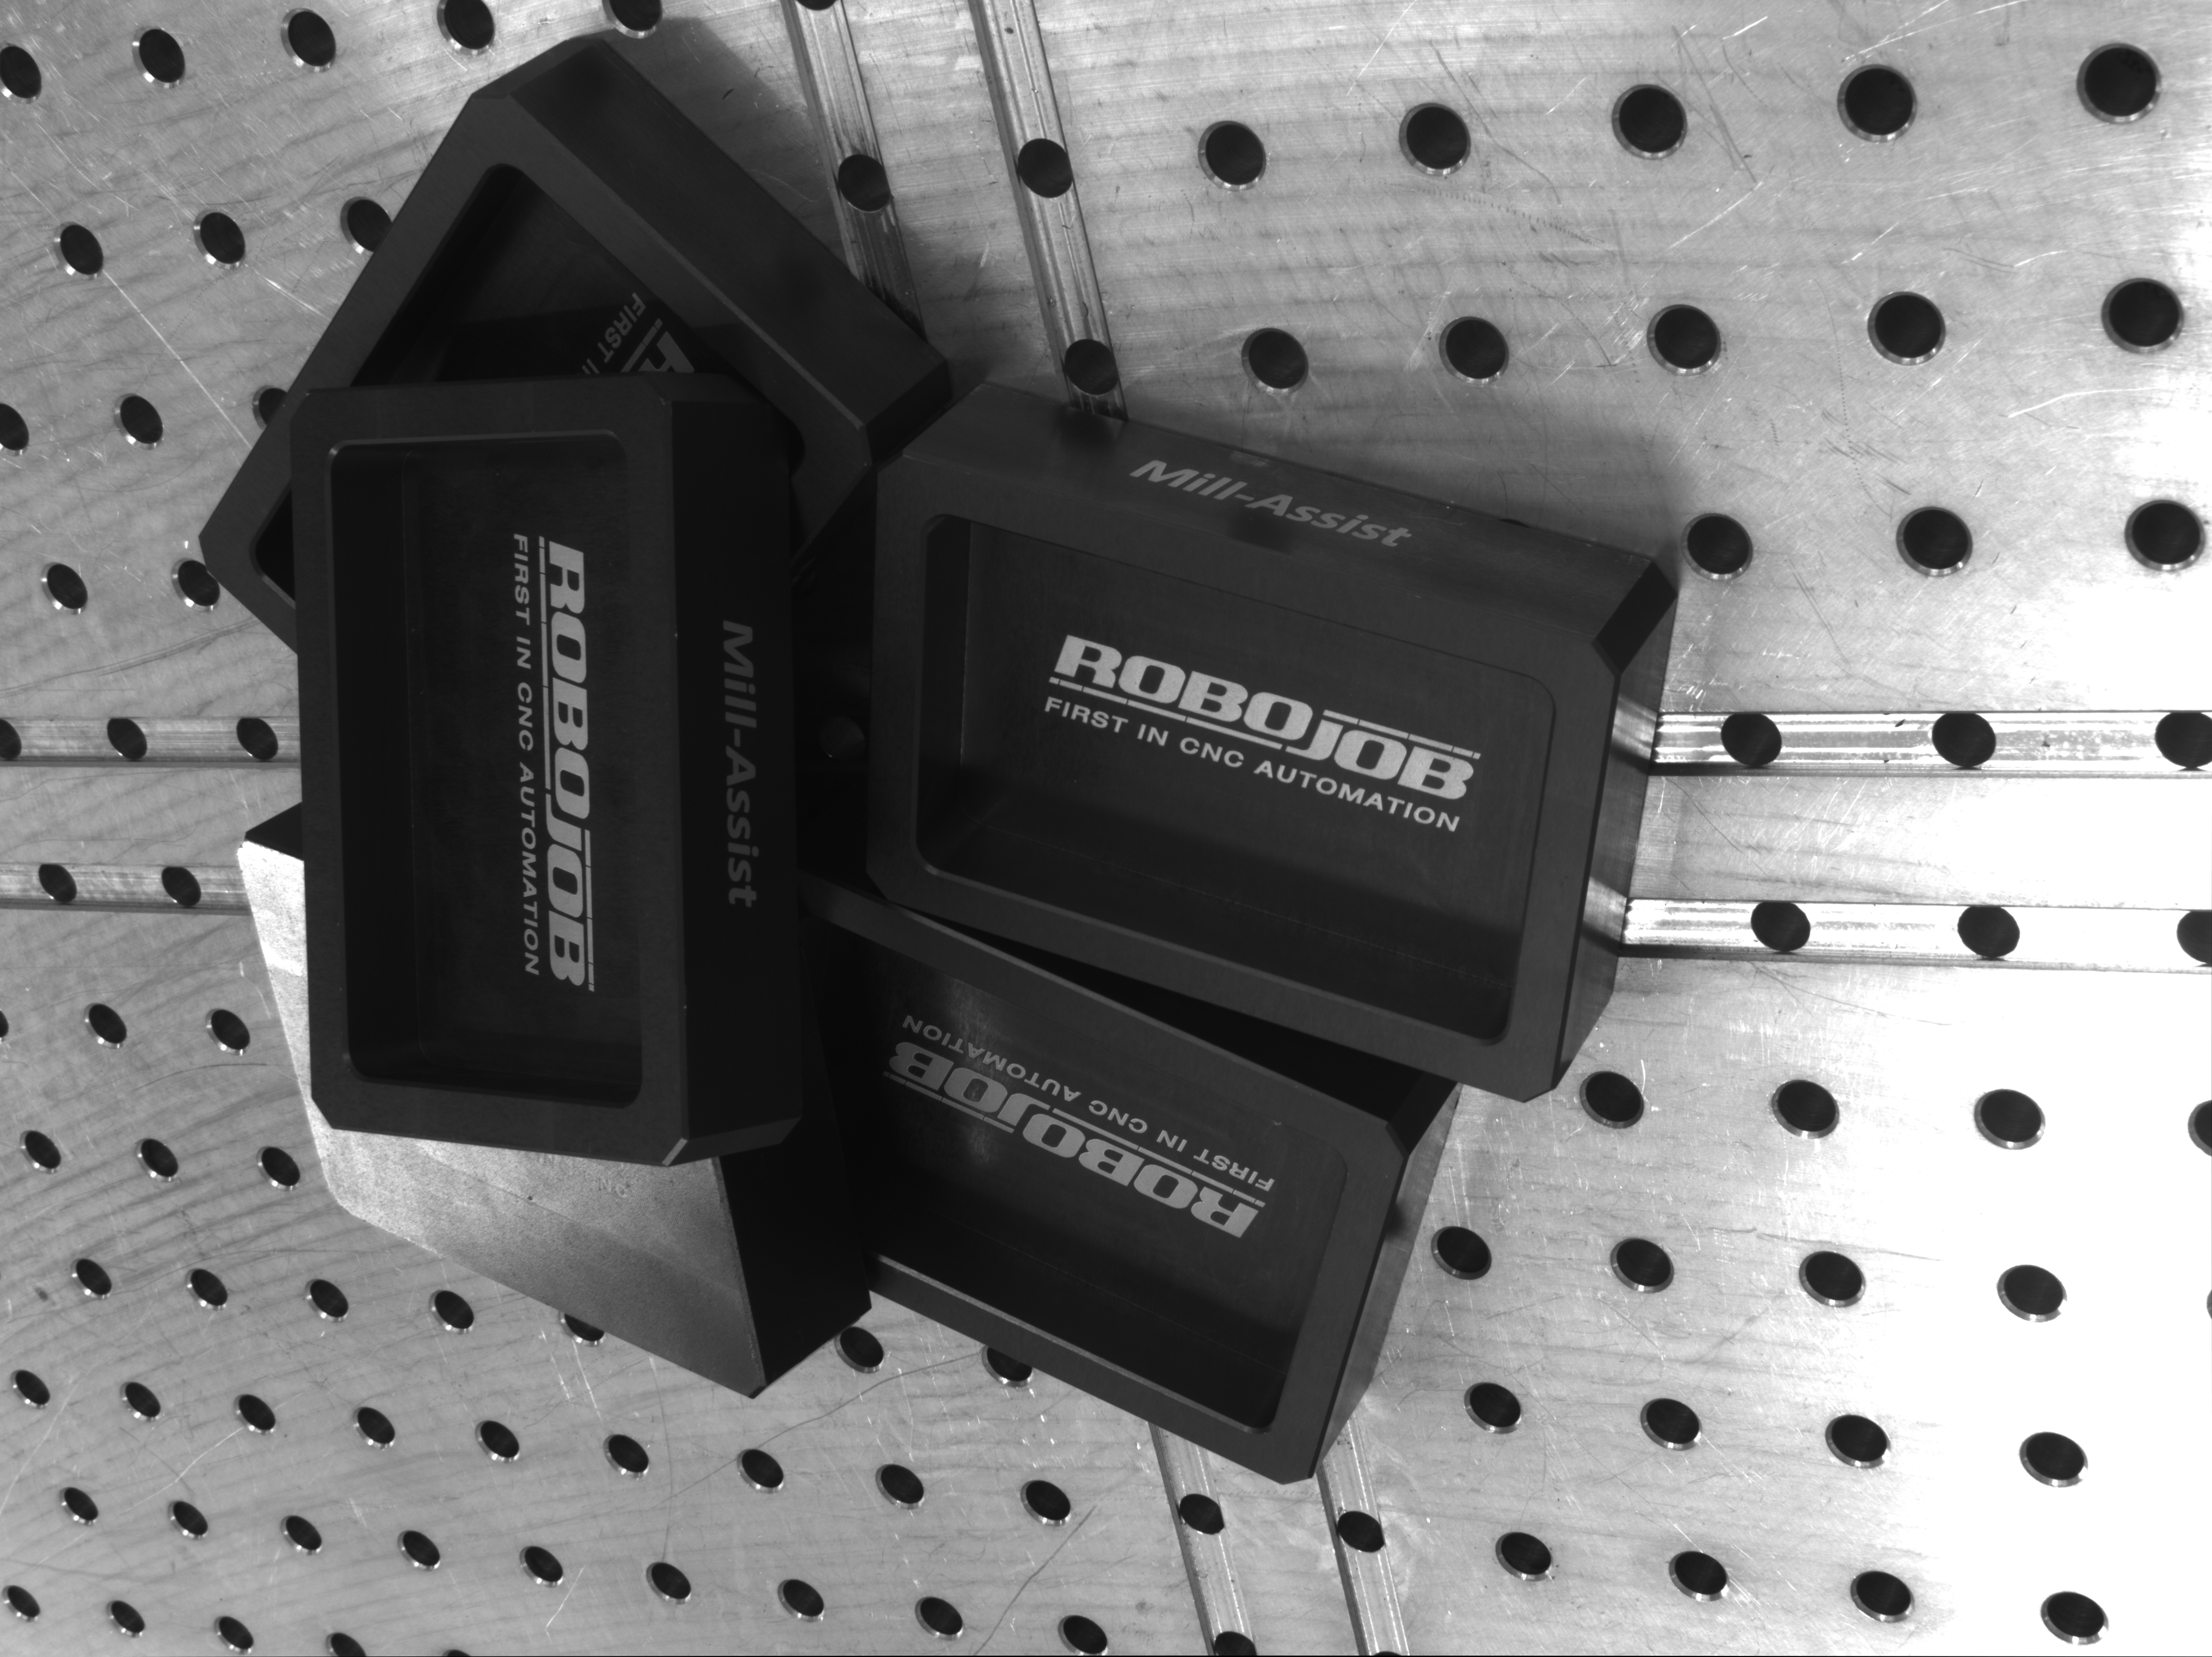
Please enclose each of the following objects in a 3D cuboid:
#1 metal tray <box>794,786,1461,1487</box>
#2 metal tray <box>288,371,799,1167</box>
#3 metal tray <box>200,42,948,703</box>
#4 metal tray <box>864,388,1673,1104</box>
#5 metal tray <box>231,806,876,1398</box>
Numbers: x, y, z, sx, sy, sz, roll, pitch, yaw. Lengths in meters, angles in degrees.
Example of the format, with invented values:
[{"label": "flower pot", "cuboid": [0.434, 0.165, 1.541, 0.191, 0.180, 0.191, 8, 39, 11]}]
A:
[{"label": "metal tray", "cuboid": [-0.006, 0.057, 0.680, 0.130, 0.030, 0.090, 23, 127, 14]}, {"label": "metal tray", "cuboid": [-0.098, -0.011, 0.633, 0.090, 0.030, 0.130, 2, 95, 36]}, {"label": "metal tray", "cuboid": [-0.098, -0.063, 0.656, 0.090, 0.030, 0.130, 43, 129, 0]}, {"label": "metal tray", "cuboid": [0.024, -0.014, 0.620, 0.130, 0.030, 0.090, 17, 126, 19]}, {"label": "metal tray", "cuboid": [-0.107, 0.048, 0.708, 0.130, 0.030, 0.090, 16, 127, 37]}]
